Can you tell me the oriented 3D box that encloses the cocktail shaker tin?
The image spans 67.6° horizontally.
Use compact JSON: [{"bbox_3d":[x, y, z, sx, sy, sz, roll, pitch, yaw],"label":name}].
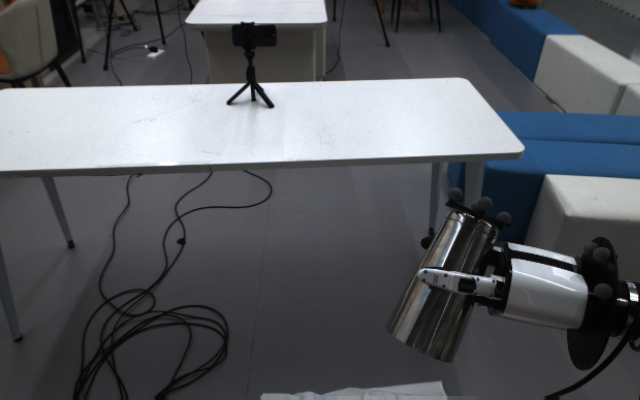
[{"bbox_3d":[0.161,0.100,0.609,0.093,0.170,0.093,23,0,0],"label":"cocktail shaker tin"}]
